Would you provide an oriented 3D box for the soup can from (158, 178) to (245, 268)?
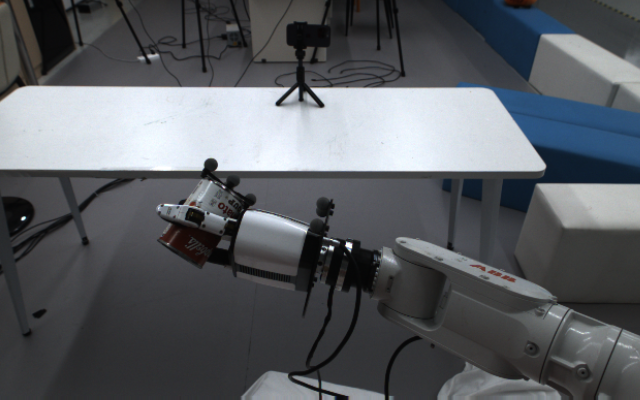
[{"bbox_3d":[-0.153,0.031,0.631,0.067,0.067,0.101,23,71,28],"label":"soup can"}]
